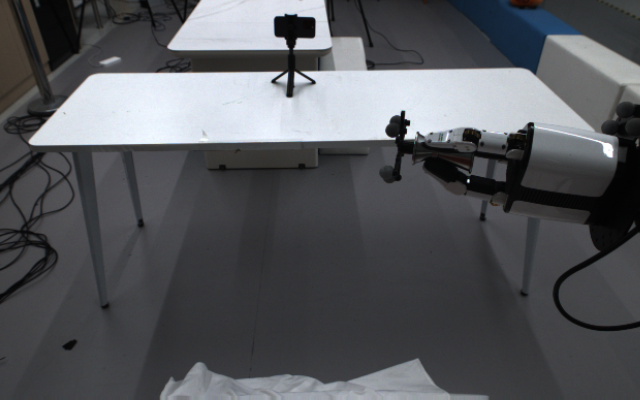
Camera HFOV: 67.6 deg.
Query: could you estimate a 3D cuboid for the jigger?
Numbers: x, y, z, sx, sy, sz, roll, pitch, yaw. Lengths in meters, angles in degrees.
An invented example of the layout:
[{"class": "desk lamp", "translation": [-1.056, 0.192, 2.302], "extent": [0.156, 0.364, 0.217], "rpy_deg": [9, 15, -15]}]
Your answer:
[{"class": "jigger", "translation": [0.152, -0.061, 0.570], "extent": [0.071, 0.043, 0.043], "rpy_deg": [8, 35, 14]}]
